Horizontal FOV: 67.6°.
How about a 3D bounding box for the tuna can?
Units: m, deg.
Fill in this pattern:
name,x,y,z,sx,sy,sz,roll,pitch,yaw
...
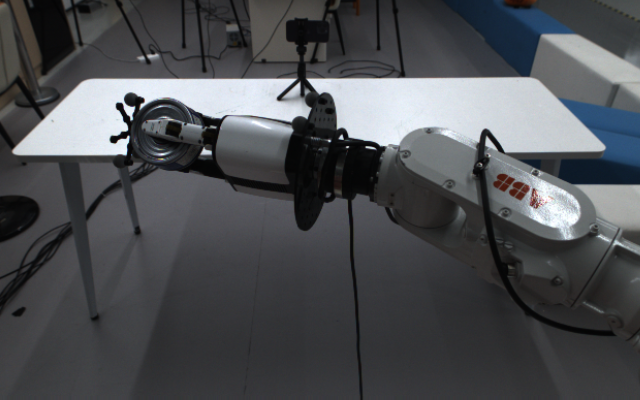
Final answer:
name,x,y,z,sx,sy,sz,roll,pitch,yaw
tuna can,-0.185,-0.078,0.593,0.085,0.085,0.034,10,-5,11
